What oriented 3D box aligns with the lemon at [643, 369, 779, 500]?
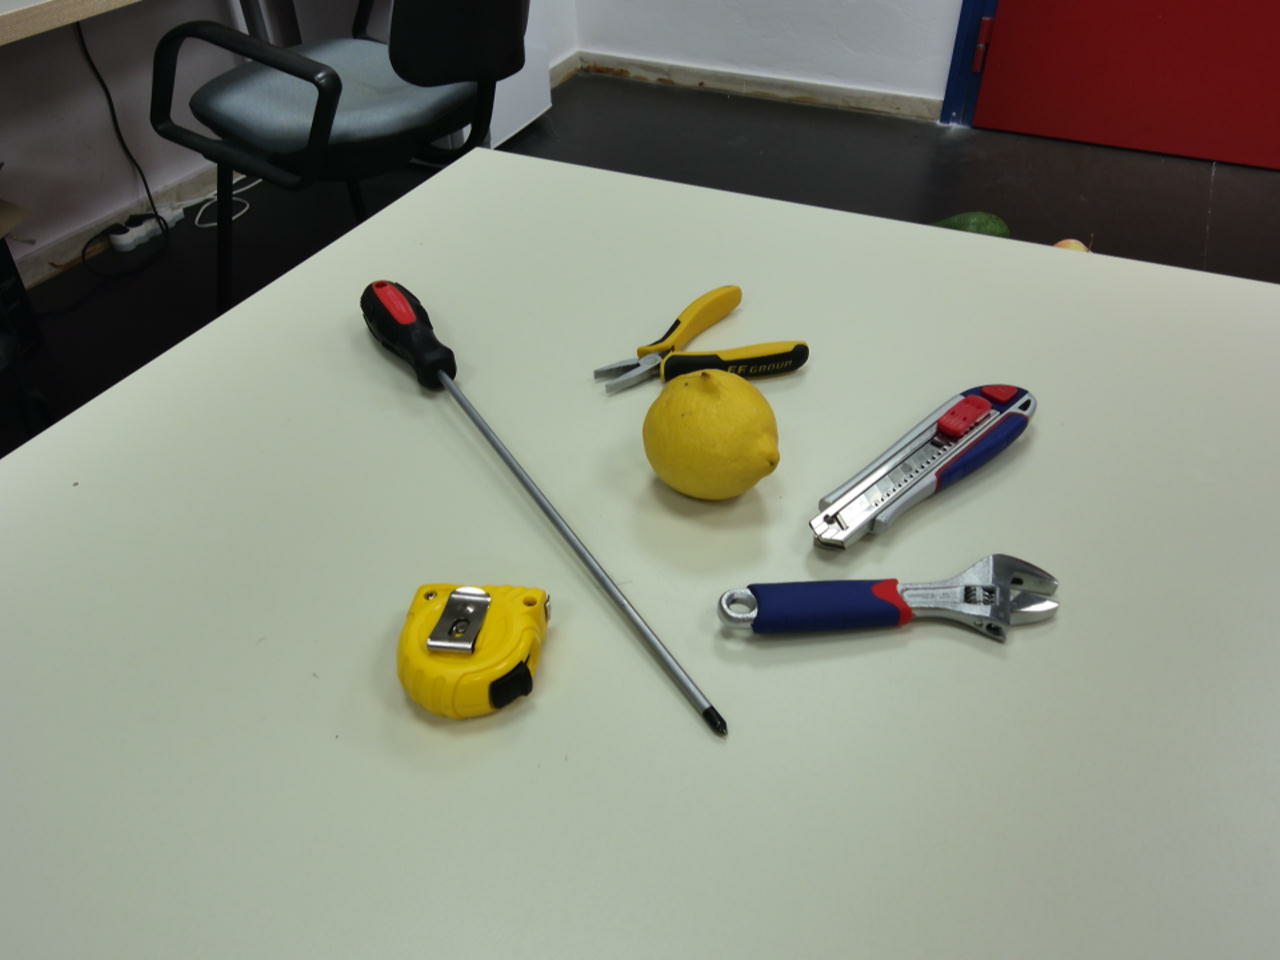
[{"bbox_3d":[0.037,-0.027,0.528,0.070,0.071,0.071,-5,38,-6],"label":"lemon"}]
